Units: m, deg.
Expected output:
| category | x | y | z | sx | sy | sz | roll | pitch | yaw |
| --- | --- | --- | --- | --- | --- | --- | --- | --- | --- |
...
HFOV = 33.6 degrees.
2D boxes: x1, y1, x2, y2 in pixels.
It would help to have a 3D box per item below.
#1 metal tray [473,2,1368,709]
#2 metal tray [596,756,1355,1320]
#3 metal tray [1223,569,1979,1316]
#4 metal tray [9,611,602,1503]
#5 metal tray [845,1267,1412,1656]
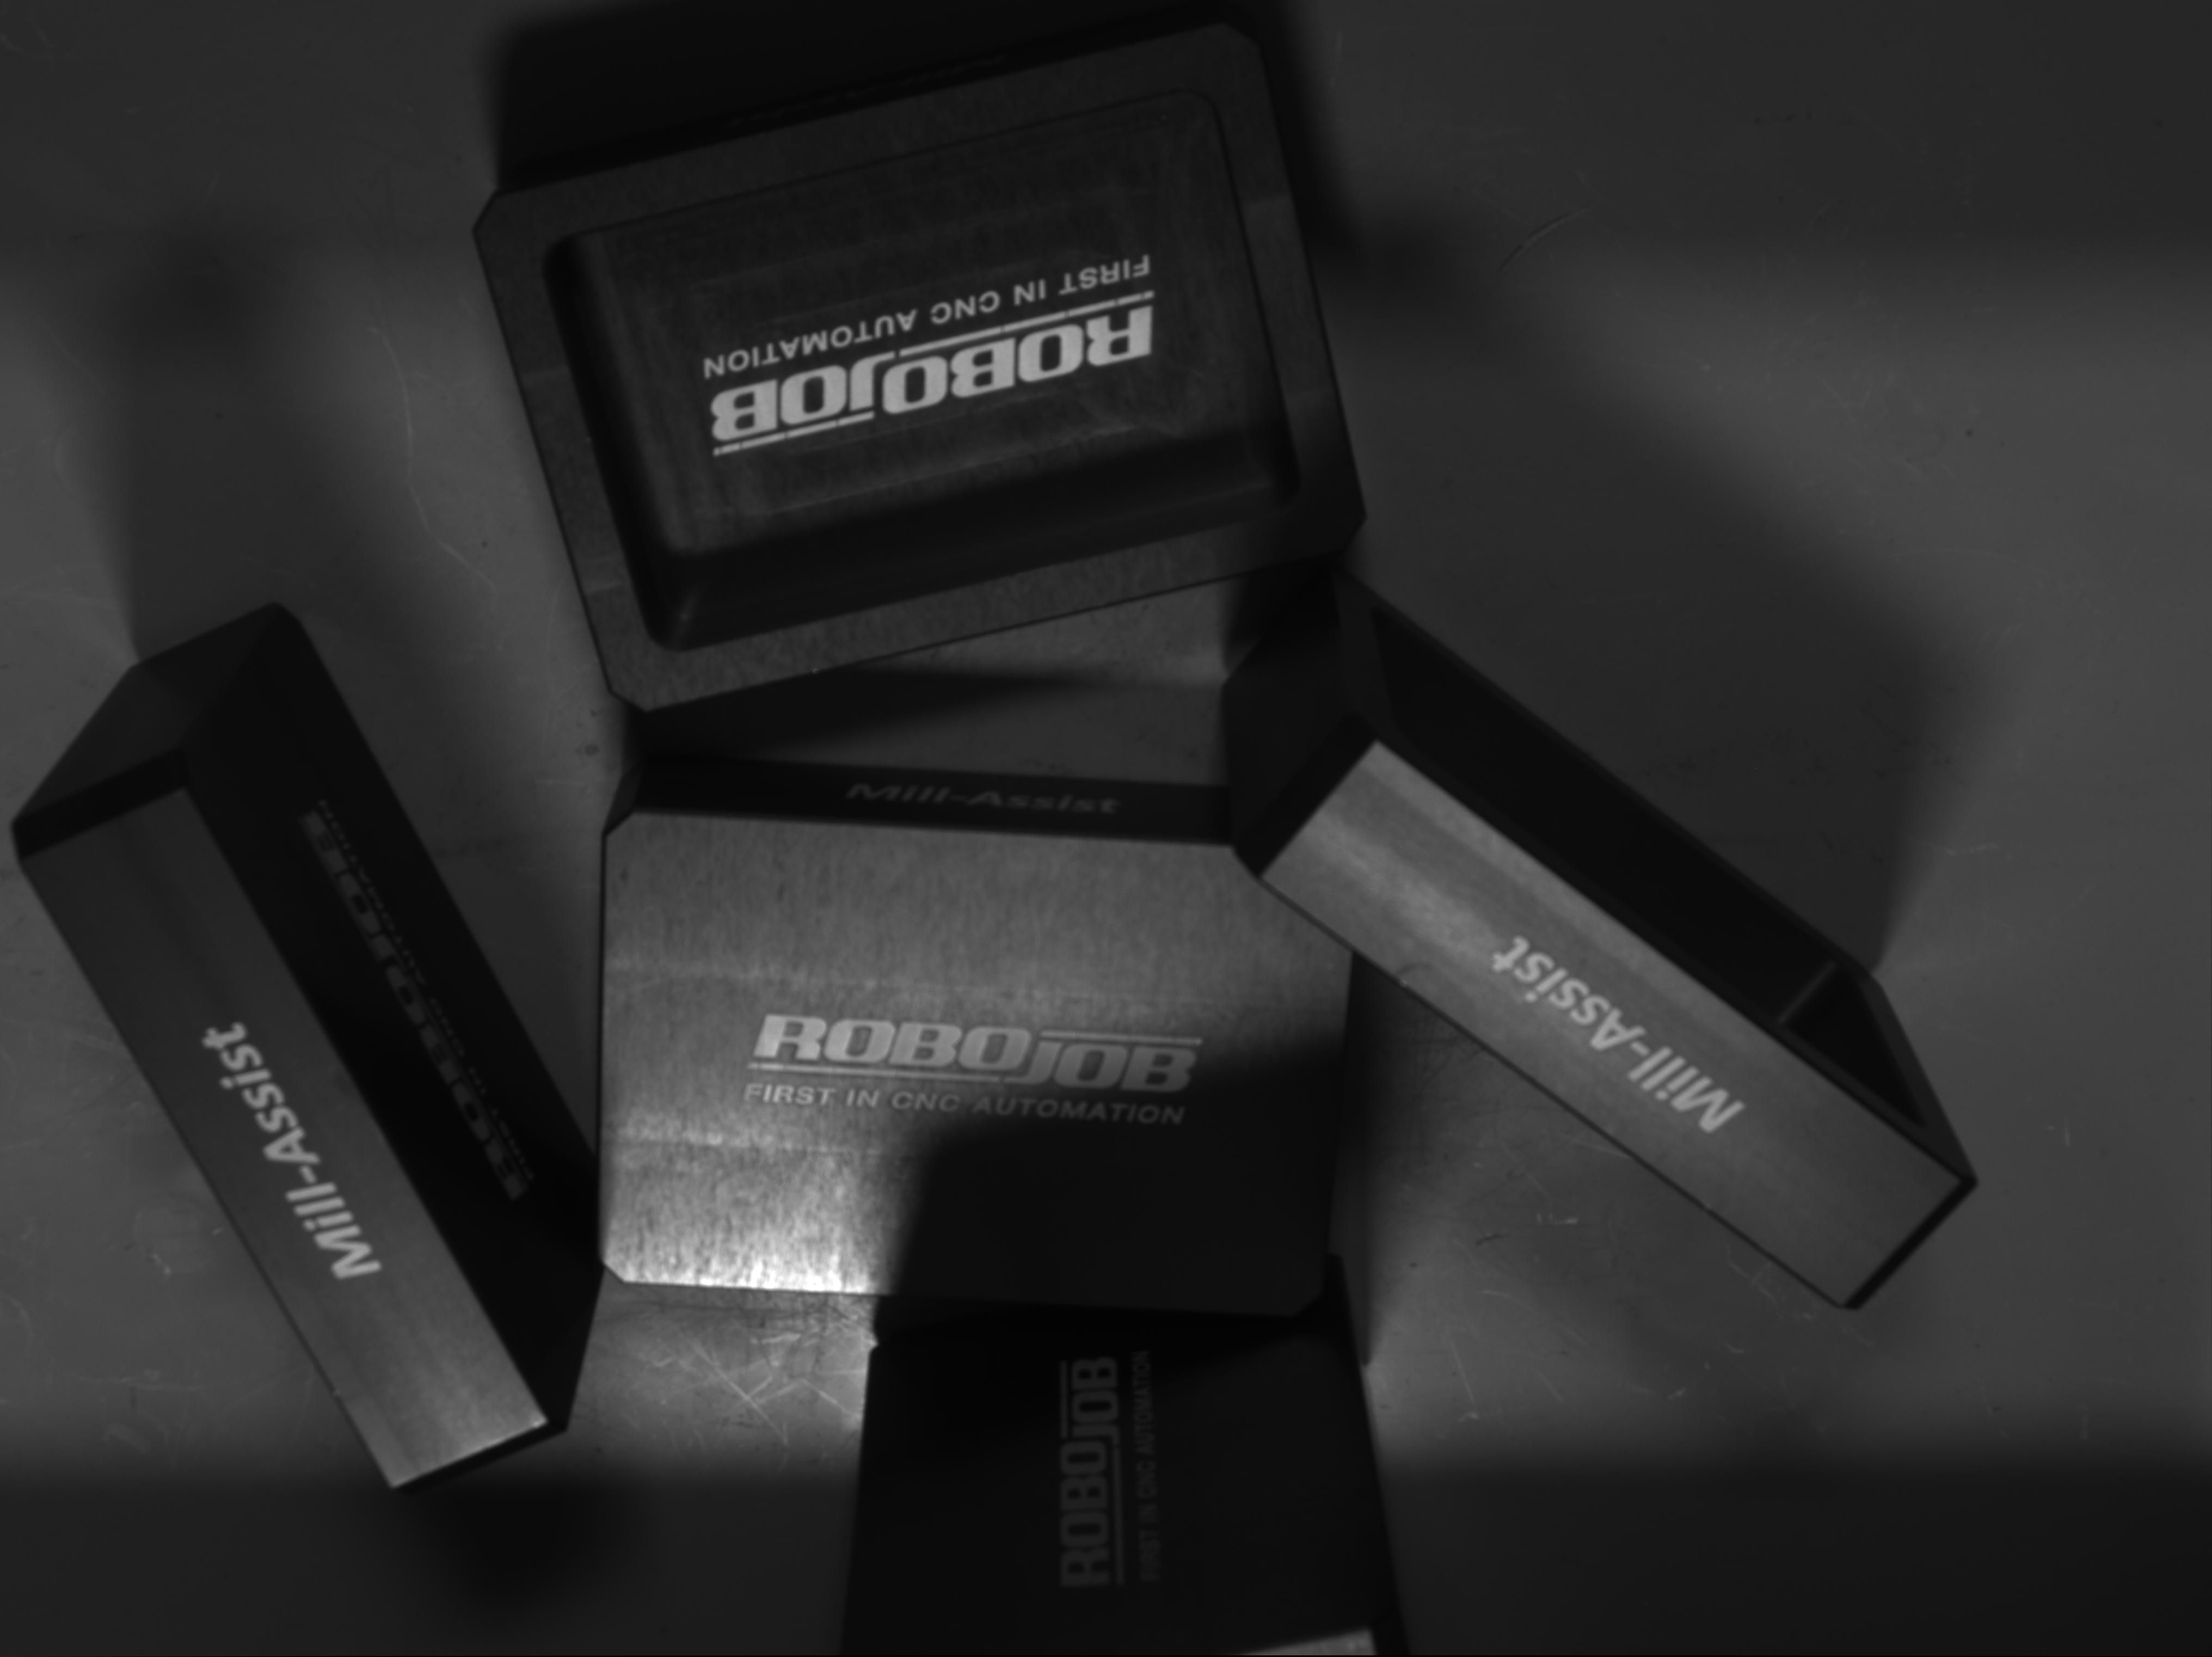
| category | x | y | z | sx | sy | sz | roll | pitch | yaw |
| --- | --- | --- | --- | --- | --- | --- | --- | --- | --- |
| metal tray | -0.029 | -0.079 | 0.610 | 0.130 | 0.030 | 0.090 | -13 | 110 | 4 |
| metal tray | -0.023 | 0.038 | 0.651 | 0.130 | 0.030 | 0.090 | 3 | 110 | -2 |
| metal tray | 0.080 | 0.017 | 0.614 | 0.130 | 0.090 | 0.030 | 36 | 106 | -13 |
| metal tray | -0.129 | 0.037 | 0.618 | 0.030 | 0.090 | 0.130 | -23 | 109 | 7 |
| metal tray | 0.004 | 0.123 | 0.630 | 0.090 | 0.130 | 0.030 | -12 | 110 | 3 |
